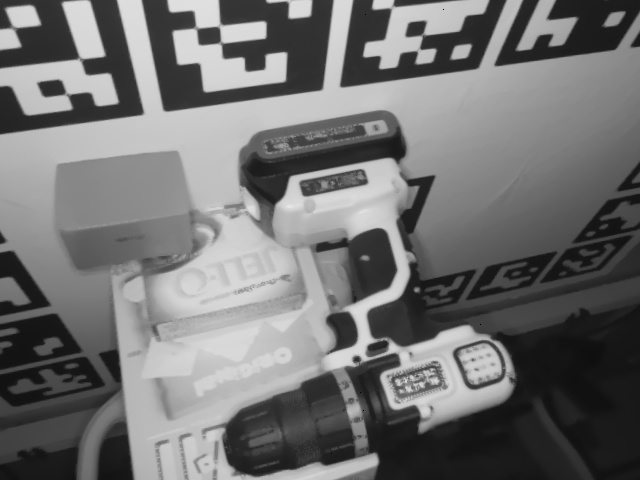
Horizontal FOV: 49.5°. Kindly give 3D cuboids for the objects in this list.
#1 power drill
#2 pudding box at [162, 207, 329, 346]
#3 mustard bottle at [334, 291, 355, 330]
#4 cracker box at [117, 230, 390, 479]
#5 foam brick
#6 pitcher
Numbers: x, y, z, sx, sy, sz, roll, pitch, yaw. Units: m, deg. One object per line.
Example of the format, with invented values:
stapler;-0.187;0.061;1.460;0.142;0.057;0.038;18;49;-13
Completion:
power drill;0.025;0.035;0.467;0.186;0.187;0.057;-9;149;-14
pudding box;-0.060;0.026;0.537;0.115;0.090;0.038;-10;147;-17
mustard bottle;0.012;0.140;0.651;0.097;0.192;0.057;0;142;-25
cracker box;-0.058;0.098;0.544;0.166;0.214;0.071;-12;148;-15
foam brick;-0.116;-0.030;0.489;0.079;0.051;0.052;-7;143;-17
pitcher;-0.113;0.169;0.609;0.191;0.243;0.131;-6;145;-21
